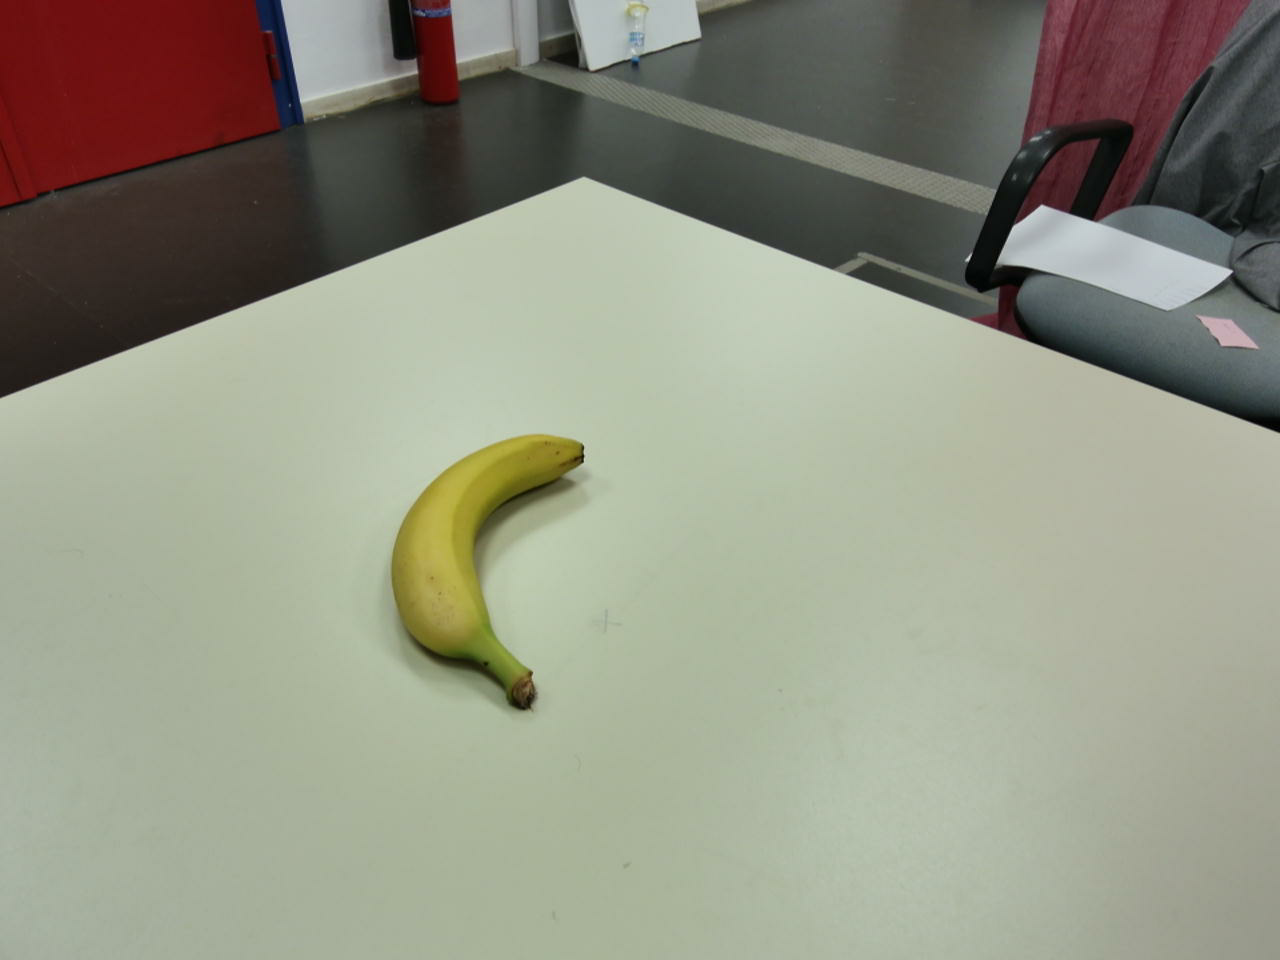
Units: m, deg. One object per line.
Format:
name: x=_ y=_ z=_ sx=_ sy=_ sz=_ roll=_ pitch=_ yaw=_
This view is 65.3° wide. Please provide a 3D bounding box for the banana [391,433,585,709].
banana: x=-0.089 y=0.036 z=0.562 sx=0.094 sy=0.041 sz=0.196 roll=4 pitch=37 yaw=4
